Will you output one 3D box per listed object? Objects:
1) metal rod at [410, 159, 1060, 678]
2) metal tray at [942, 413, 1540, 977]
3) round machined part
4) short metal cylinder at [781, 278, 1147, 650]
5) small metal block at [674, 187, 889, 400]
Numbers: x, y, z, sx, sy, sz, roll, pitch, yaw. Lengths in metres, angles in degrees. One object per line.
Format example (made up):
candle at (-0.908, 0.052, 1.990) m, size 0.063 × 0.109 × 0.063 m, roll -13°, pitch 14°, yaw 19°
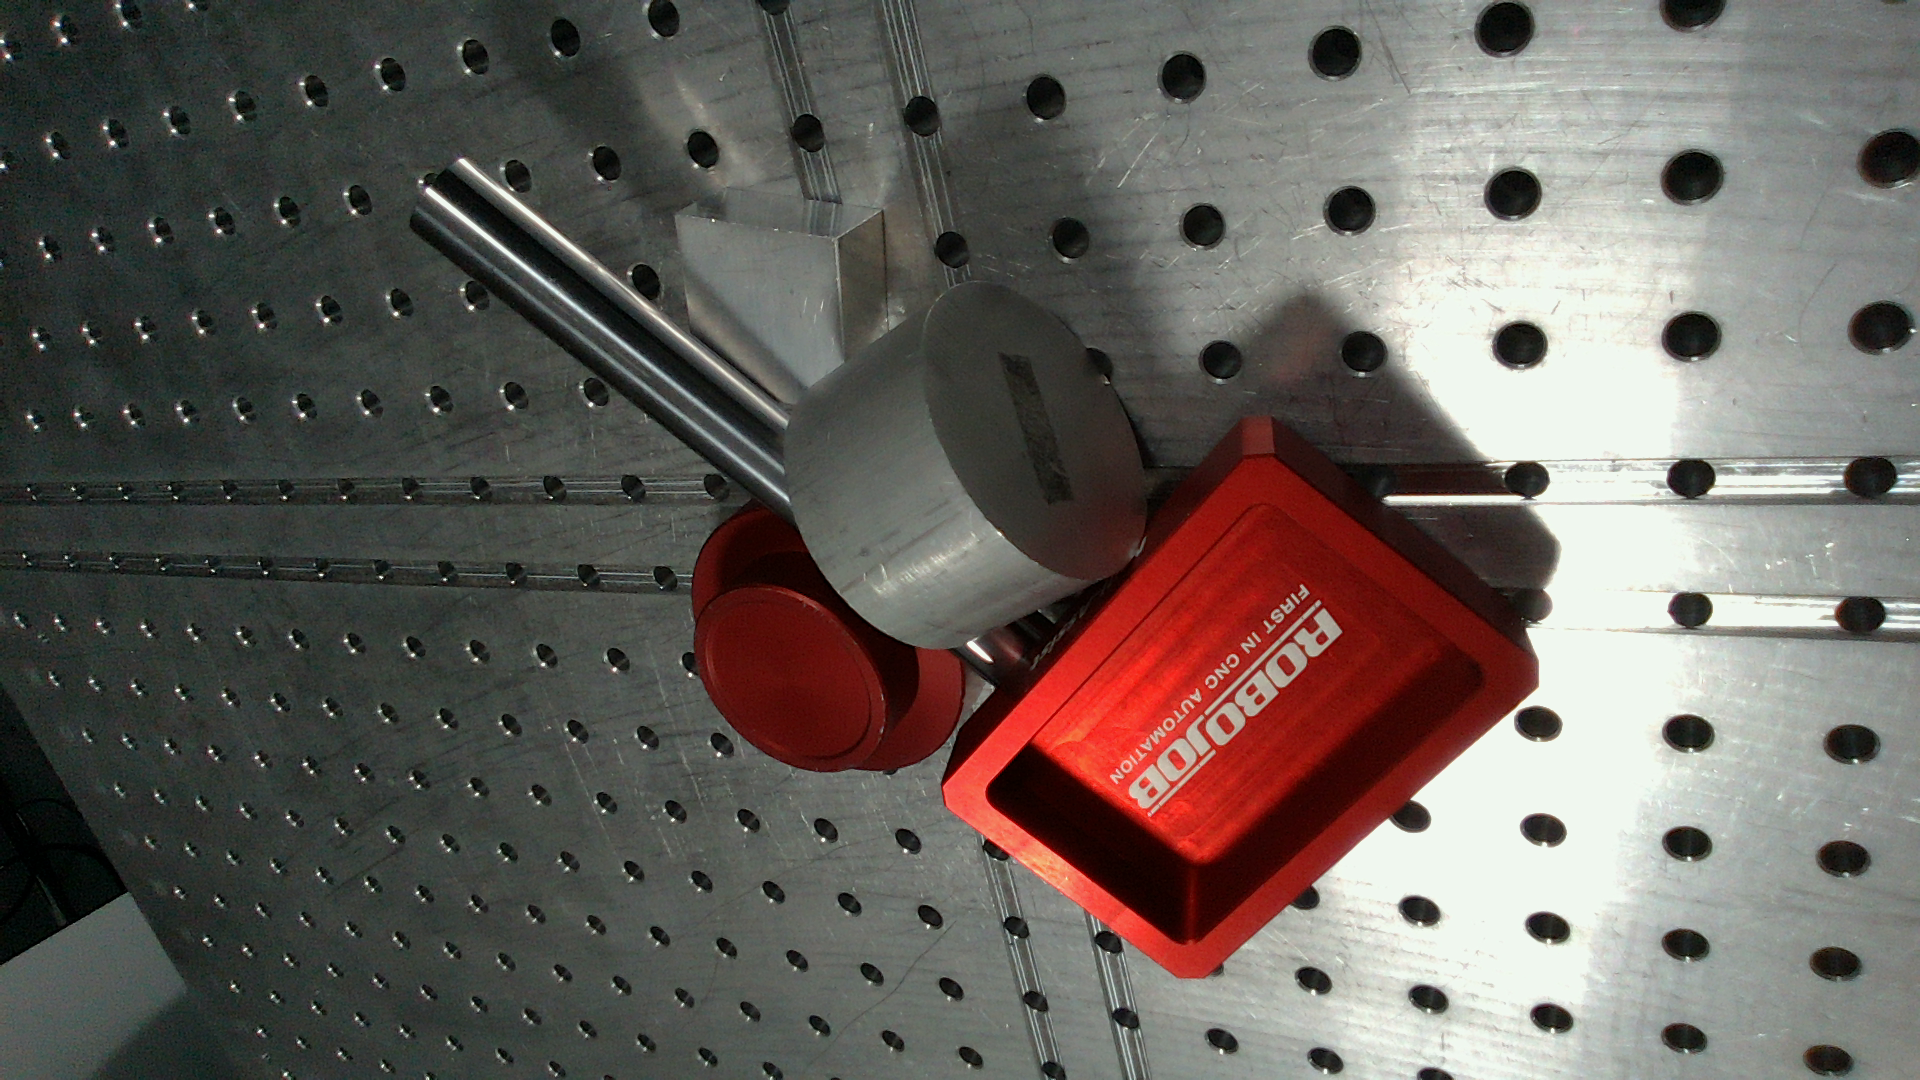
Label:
metal rod at (-0.020, 0.000, 0.385) m, size 0.300 × 0.025 × 0.025 m, roll 38°, pitch 130°, yaw -7°
metal tray at (0.068, 0.044, 0.356) m, size 0.090 × 0.030 × 0.130 m, roll 37°, pitch 114°, yaw -6°
round machined part at (-0.044, 0.033, 0.428) m, size 0.098 × 0.042 × 0.098 m, roll 13°, pitch 124°, yaw 21°
short metal cylinder at (0.002, -0.018, 0.348) m, size 0.050 × 0.080 × 0.080 m, roll -28°, pitch 103°, yaw 38°
small metal block at (-0.048, -0.067, 0.381) m, size 0.050 × 0.025 × 0.050 m, roll 12°, pitch 124°, yaw 21°
